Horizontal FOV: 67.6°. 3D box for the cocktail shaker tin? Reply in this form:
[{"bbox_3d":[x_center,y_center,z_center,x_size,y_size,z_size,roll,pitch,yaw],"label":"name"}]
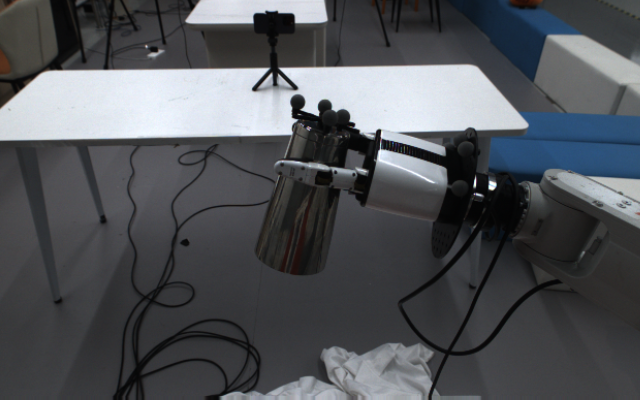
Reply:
[{"bbox_3d":[-0.015,-0.008,0.589,0.093,0.170,0.093,14,19,-5],"label":"cocktail shaker tin"}]
